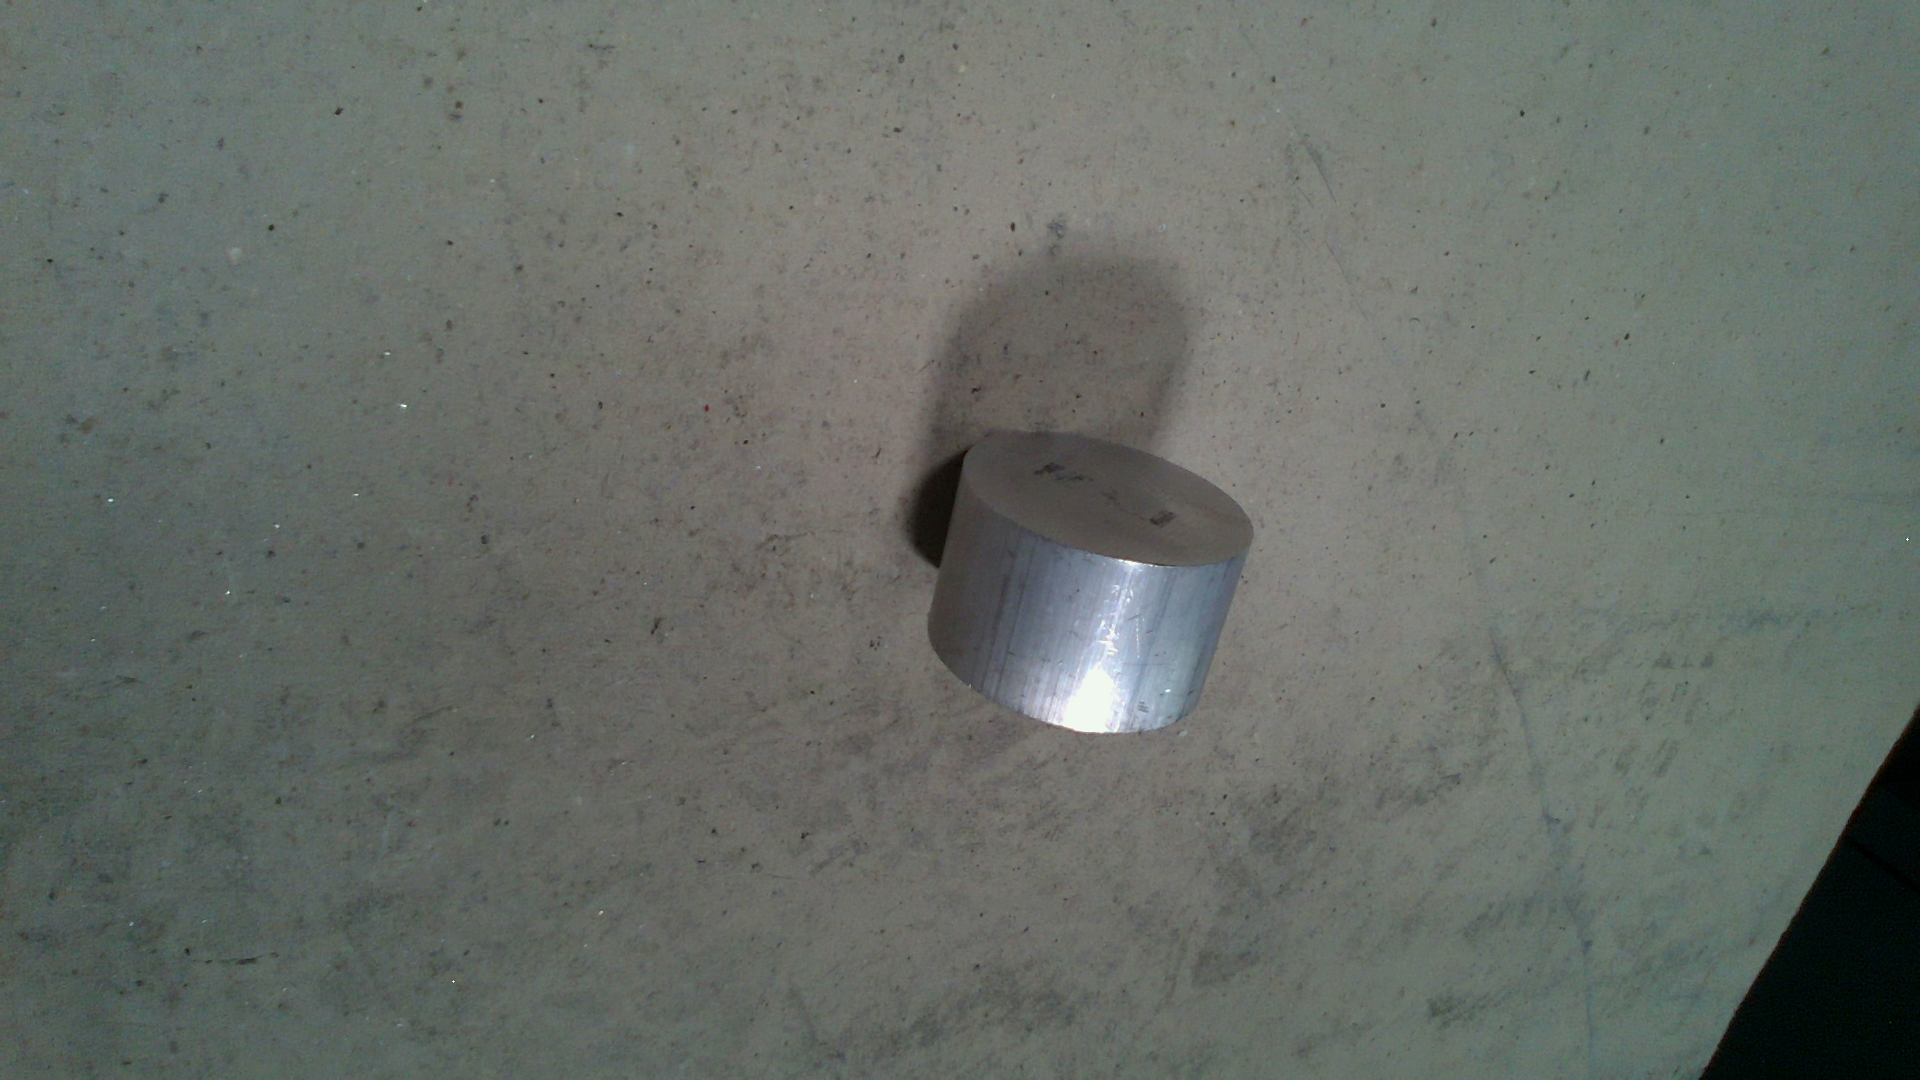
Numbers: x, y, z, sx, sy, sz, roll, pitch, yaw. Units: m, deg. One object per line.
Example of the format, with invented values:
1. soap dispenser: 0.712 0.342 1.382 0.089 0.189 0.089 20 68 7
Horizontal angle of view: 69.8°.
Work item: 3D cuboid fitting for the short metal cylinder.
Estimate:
1. short metal cylinder: 0.035 0.009 0.379 0.080 0.080 0.050 -1 119 -28
